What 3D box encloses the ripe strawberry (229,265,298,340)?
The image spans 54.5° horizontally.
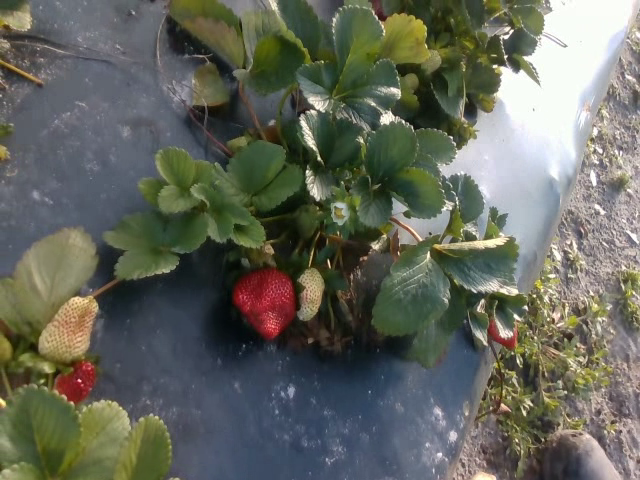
[{"bbox_3d":[-0.045,0.052,0.480,0.057,0.058,0.070,-1,8,12],"label":"ripe strawberry"}]
